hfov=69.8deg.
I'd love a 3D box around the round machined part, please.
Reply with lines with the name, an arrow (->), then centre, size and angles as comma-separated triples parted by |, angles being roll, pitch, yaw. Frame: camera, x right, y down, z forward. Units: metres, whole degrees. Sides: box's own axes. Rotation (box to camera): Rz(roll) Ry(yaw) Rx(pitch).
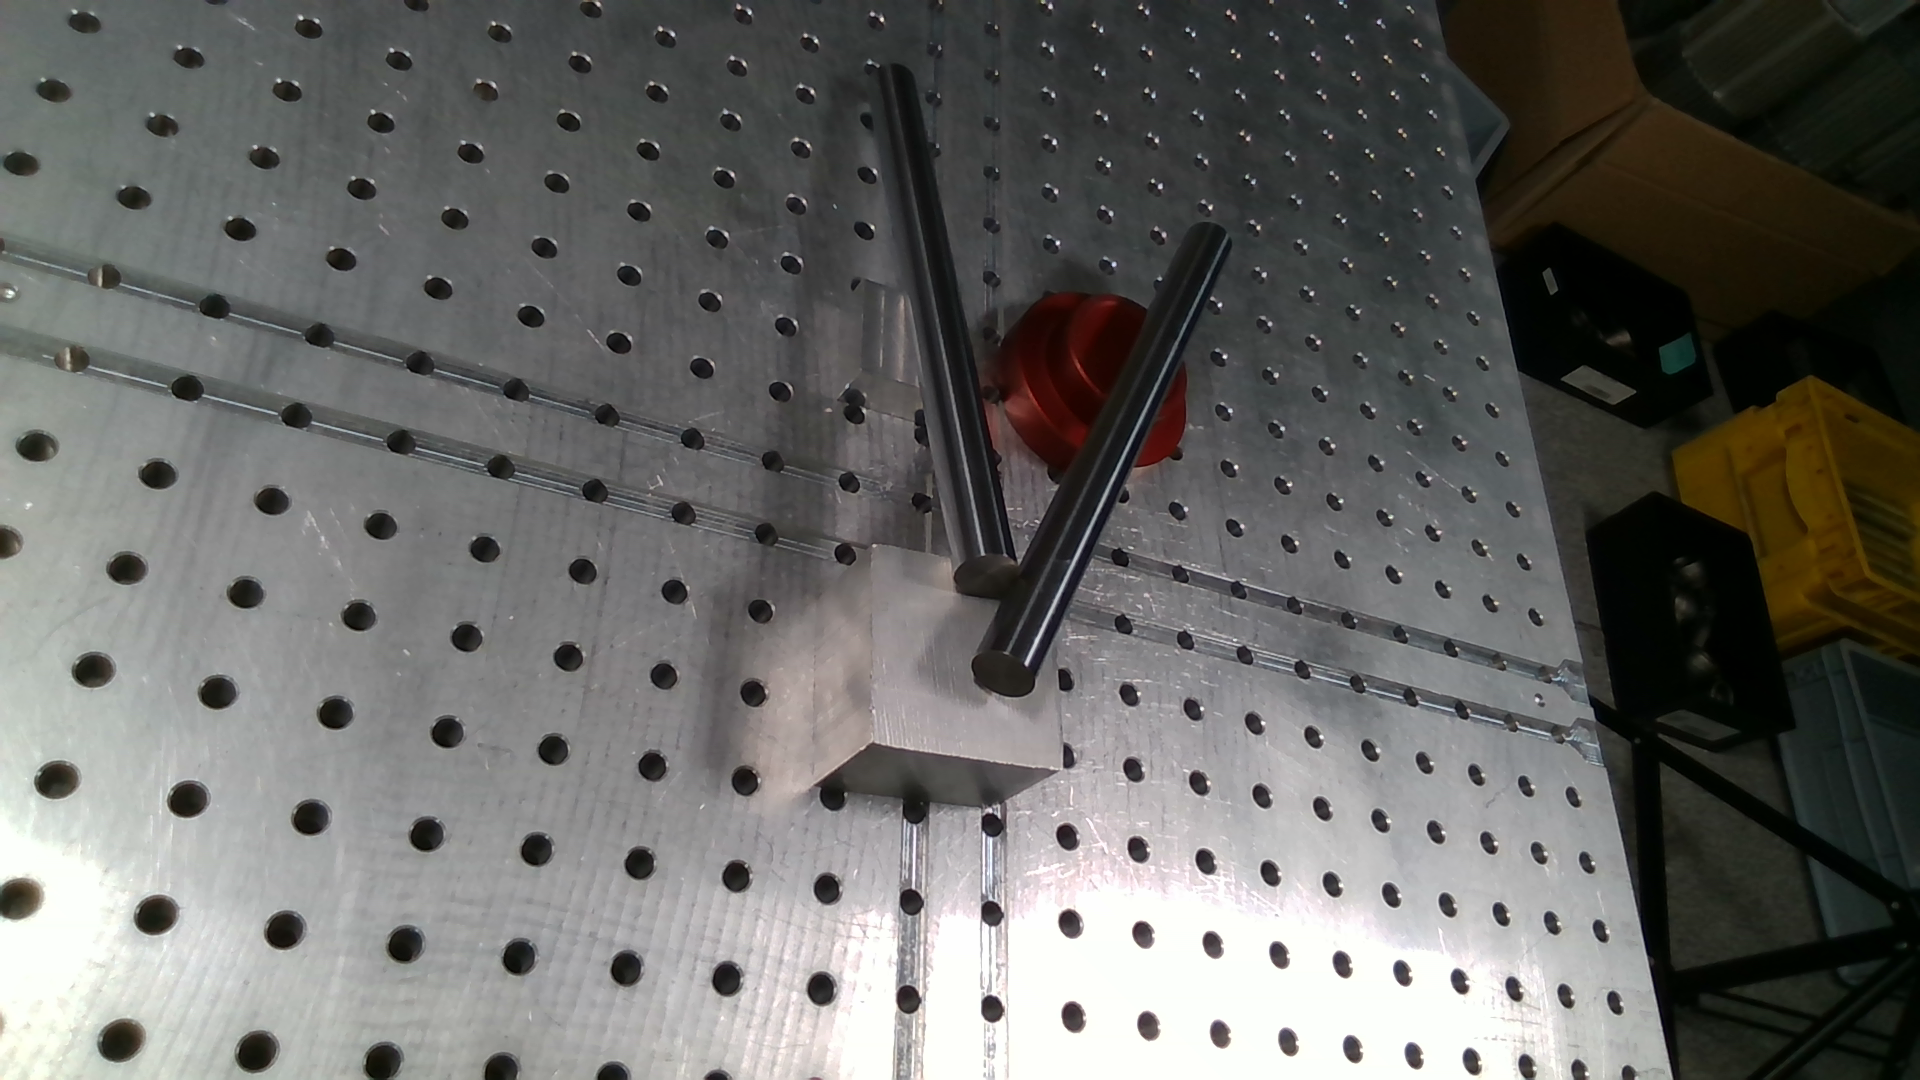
round machined part -> 0.069, -0.080, 0.663 | 0.098, 0.042, 0.098 | 14, 59, -25

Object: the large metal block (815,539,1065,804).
large metal block -> -0.009, 0.053, 0.535 | 0.080, 0.050, 0.080 | 12, 59, -26

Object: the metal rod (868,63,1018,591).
metal rod -> -0.012, -0.108, 0.604 | 0.025, 0.025, 0.299 | 11, 50, -27

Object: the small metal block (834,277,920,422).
small metal block -> -0.027, -0.084, 0.618 | 0.050, 0.025, 0.050 | 14, 59, -25

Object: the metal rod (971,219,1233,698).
metal rod -> 0.070, -0.051, 0.597 | 0.025, 0.025, 0.299 | 37, 49, -9
